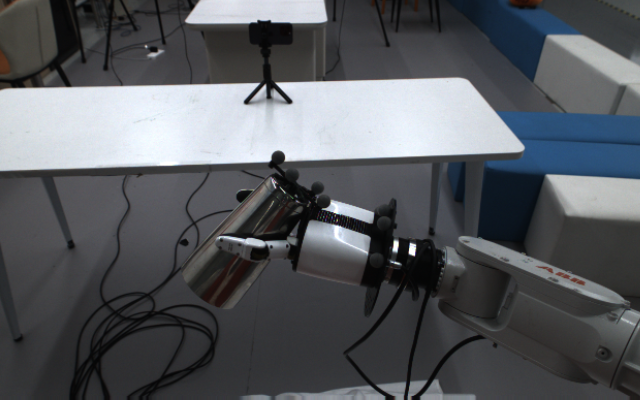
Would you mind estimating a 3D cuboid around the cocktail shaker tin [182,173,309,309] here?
[{"bbox_3d":[-0.091,0.046,0.633,0.093,0.170,0.093,41,13,-11],"label":"cocktail shaker tin"}]
